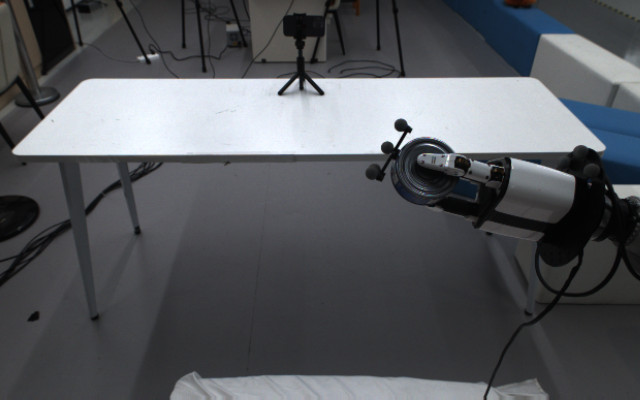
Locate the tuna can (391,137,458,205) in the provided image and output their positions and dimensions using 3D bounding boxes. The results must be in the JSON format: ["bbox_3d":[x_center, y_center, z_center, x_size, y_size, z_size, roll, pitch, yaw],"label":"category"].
[{"bbox_3d":[0.140,-0.040,0.635,0.085,0.034,0.085,1,75,-5],"label":"tuna can"}]
